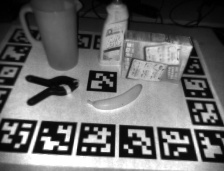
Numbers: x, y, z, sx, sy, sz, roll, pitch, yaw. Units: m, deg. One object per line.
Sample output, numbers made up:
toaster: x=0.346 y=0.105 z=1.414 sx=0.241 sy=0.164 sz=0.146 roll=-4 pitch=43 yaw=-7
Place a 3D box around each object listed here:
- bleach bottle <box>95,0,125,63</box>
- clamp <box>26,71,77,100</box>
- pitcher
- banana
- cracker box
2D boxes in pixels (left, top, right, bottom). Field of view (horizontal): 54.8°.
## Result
bleach bottle: x=-0.010 y=-0.196 z=0.773 sx=0.103 sy=0.252 sz=0.067 roll=3 pitch=46 yaw=-1
clamp: x=-0.199 y=-0.011 z=0.725 sx=0.166 sy=0.037 sz=0.120 roll=-7 pitch=47 yaw=-15
pitcher: x=-0.198 y=-0.192 z=0.724 sx=0.190 sy=0.243 sz=0.132 roll=-9 pitch=48 yaw=-16
banana: x=0.019 y=0.027 z=0.723 sx=0.199 sy=0.039 sz=0.073 roll=-23 pitch=53 yaw=-24
cracker box: x=0.139 y=-0.112 z=0.748 sx=0.213 sy=0.165 sz=0.071 roll=4 pitch=44 yaw=1
